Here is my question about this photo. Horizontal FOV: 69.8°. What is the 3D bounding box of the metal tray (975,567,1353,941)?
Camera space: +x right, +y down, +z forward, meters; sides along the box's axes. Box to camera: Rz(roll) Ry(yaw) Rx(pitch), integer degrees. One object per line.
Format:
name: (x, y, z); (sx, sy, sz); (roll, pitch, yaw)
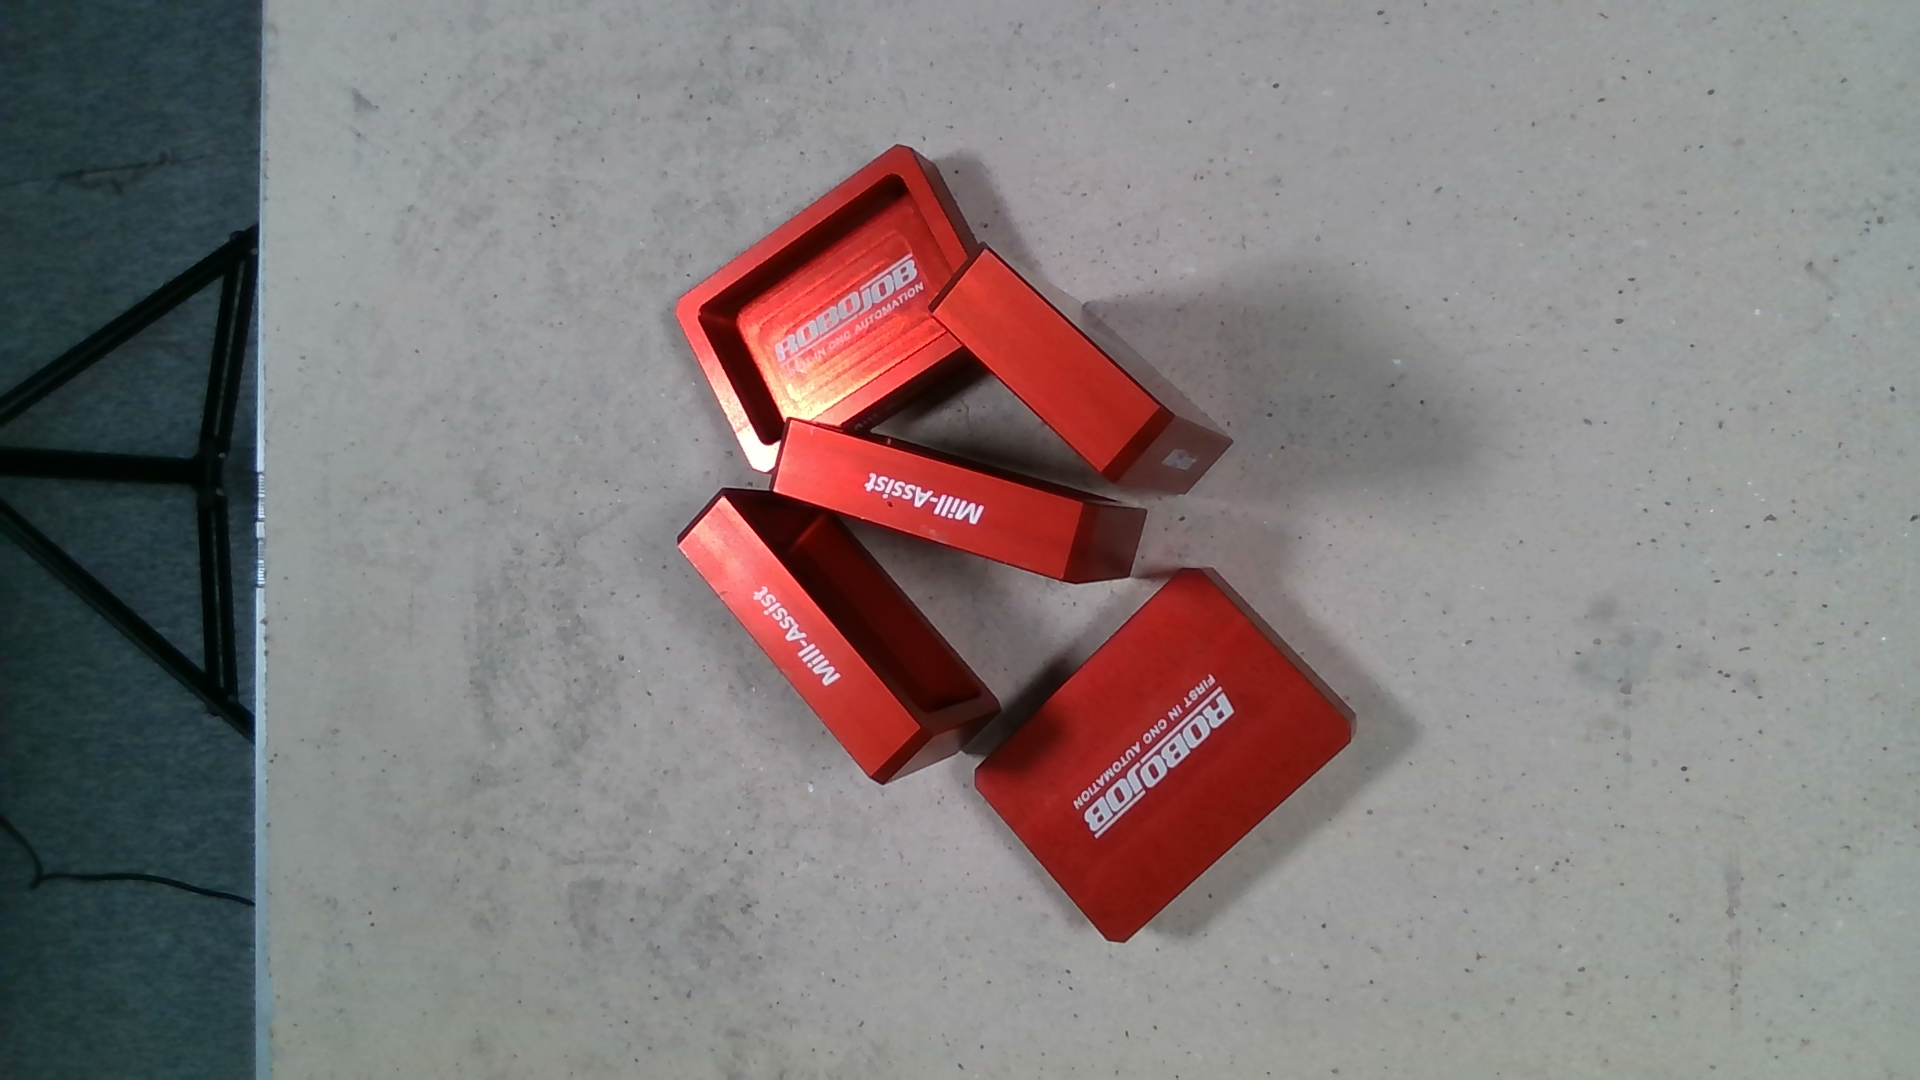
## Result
metal tray: (0.081, 0.085, 0.554); (0.130, 0.030, 0.090); (-46, 76, 15)

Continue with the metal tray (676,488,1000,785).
metal tray: (-0.048, 0.036, 0.569); (0.030, 0.090, 0.130); (-46, 76, 15)

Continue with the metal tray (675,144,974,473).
metal tray: (-0.051, -0.097, 0.601); (0.130, 0.030, 0.090); (-30, 80, 18)

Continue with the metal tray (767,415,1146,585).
metal tray: (0.001, -0.016, 0.550); (0.130, 0.090, 0.030); (17, 96, 19)

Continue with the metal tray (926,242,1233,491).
metal tray: (0.049, -0.060, 0.511); (0.090, 0.130, 0.030); (45, 105, 14)
